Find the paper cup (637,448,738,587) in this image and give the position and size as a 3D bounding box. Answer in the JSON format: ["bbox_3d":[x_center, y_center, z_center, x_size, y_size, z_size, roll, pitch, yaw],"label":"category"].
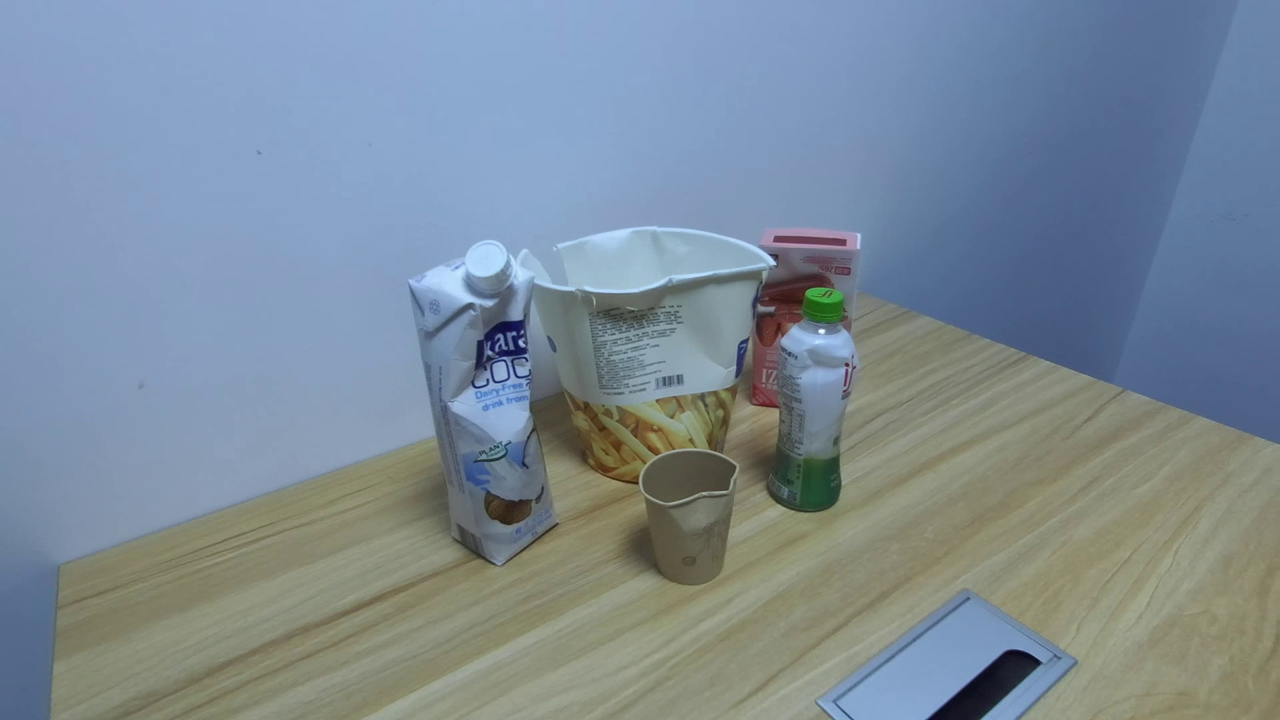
[{"bbox_3d":[0.039,0.122,0.537,0.068,0.081,0.074,14,29,30],"label":"paper cup"}]

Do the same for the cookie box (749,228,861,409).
[{"bbox_3d":[0.166,-0.040,0.728,0.105,0.188,0.049,6,30,16],"label":"cookie box"}]

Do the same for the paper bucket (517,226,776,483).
[{"bbox_3d":[0.005,-0.007,0.660,0.203,0.197,0.145,-13,29,-21],"label":"paper bucket"}]

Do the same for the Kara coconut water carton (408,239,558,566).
[{"bbox_3d":[-0.117,0.032,0.538,0.083,0.256,0.078,-21,34,-34],"label":"Kara coconut water carton"}]

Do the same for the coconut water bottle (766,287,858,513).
[{"bbox_3d":[0.144,0.033,0.582,0.069,0.186,0.069,0,26,0],"label":"coconut water bottle"}]
